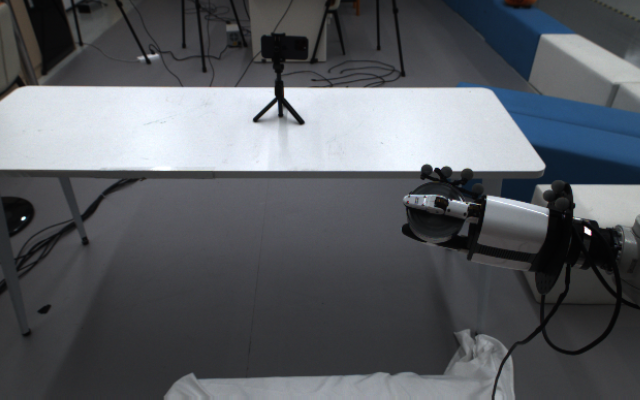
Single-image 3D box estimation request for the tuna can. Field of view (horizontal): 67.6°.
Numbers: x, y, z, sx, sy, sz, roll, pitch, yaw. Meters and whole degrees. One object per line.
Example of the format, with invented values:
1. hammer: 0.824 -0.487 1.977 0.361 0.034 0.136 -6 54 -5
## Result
1. tuna can: 0.170 0.015 0.706 0.085 0.034 0.085 -4 66 10
